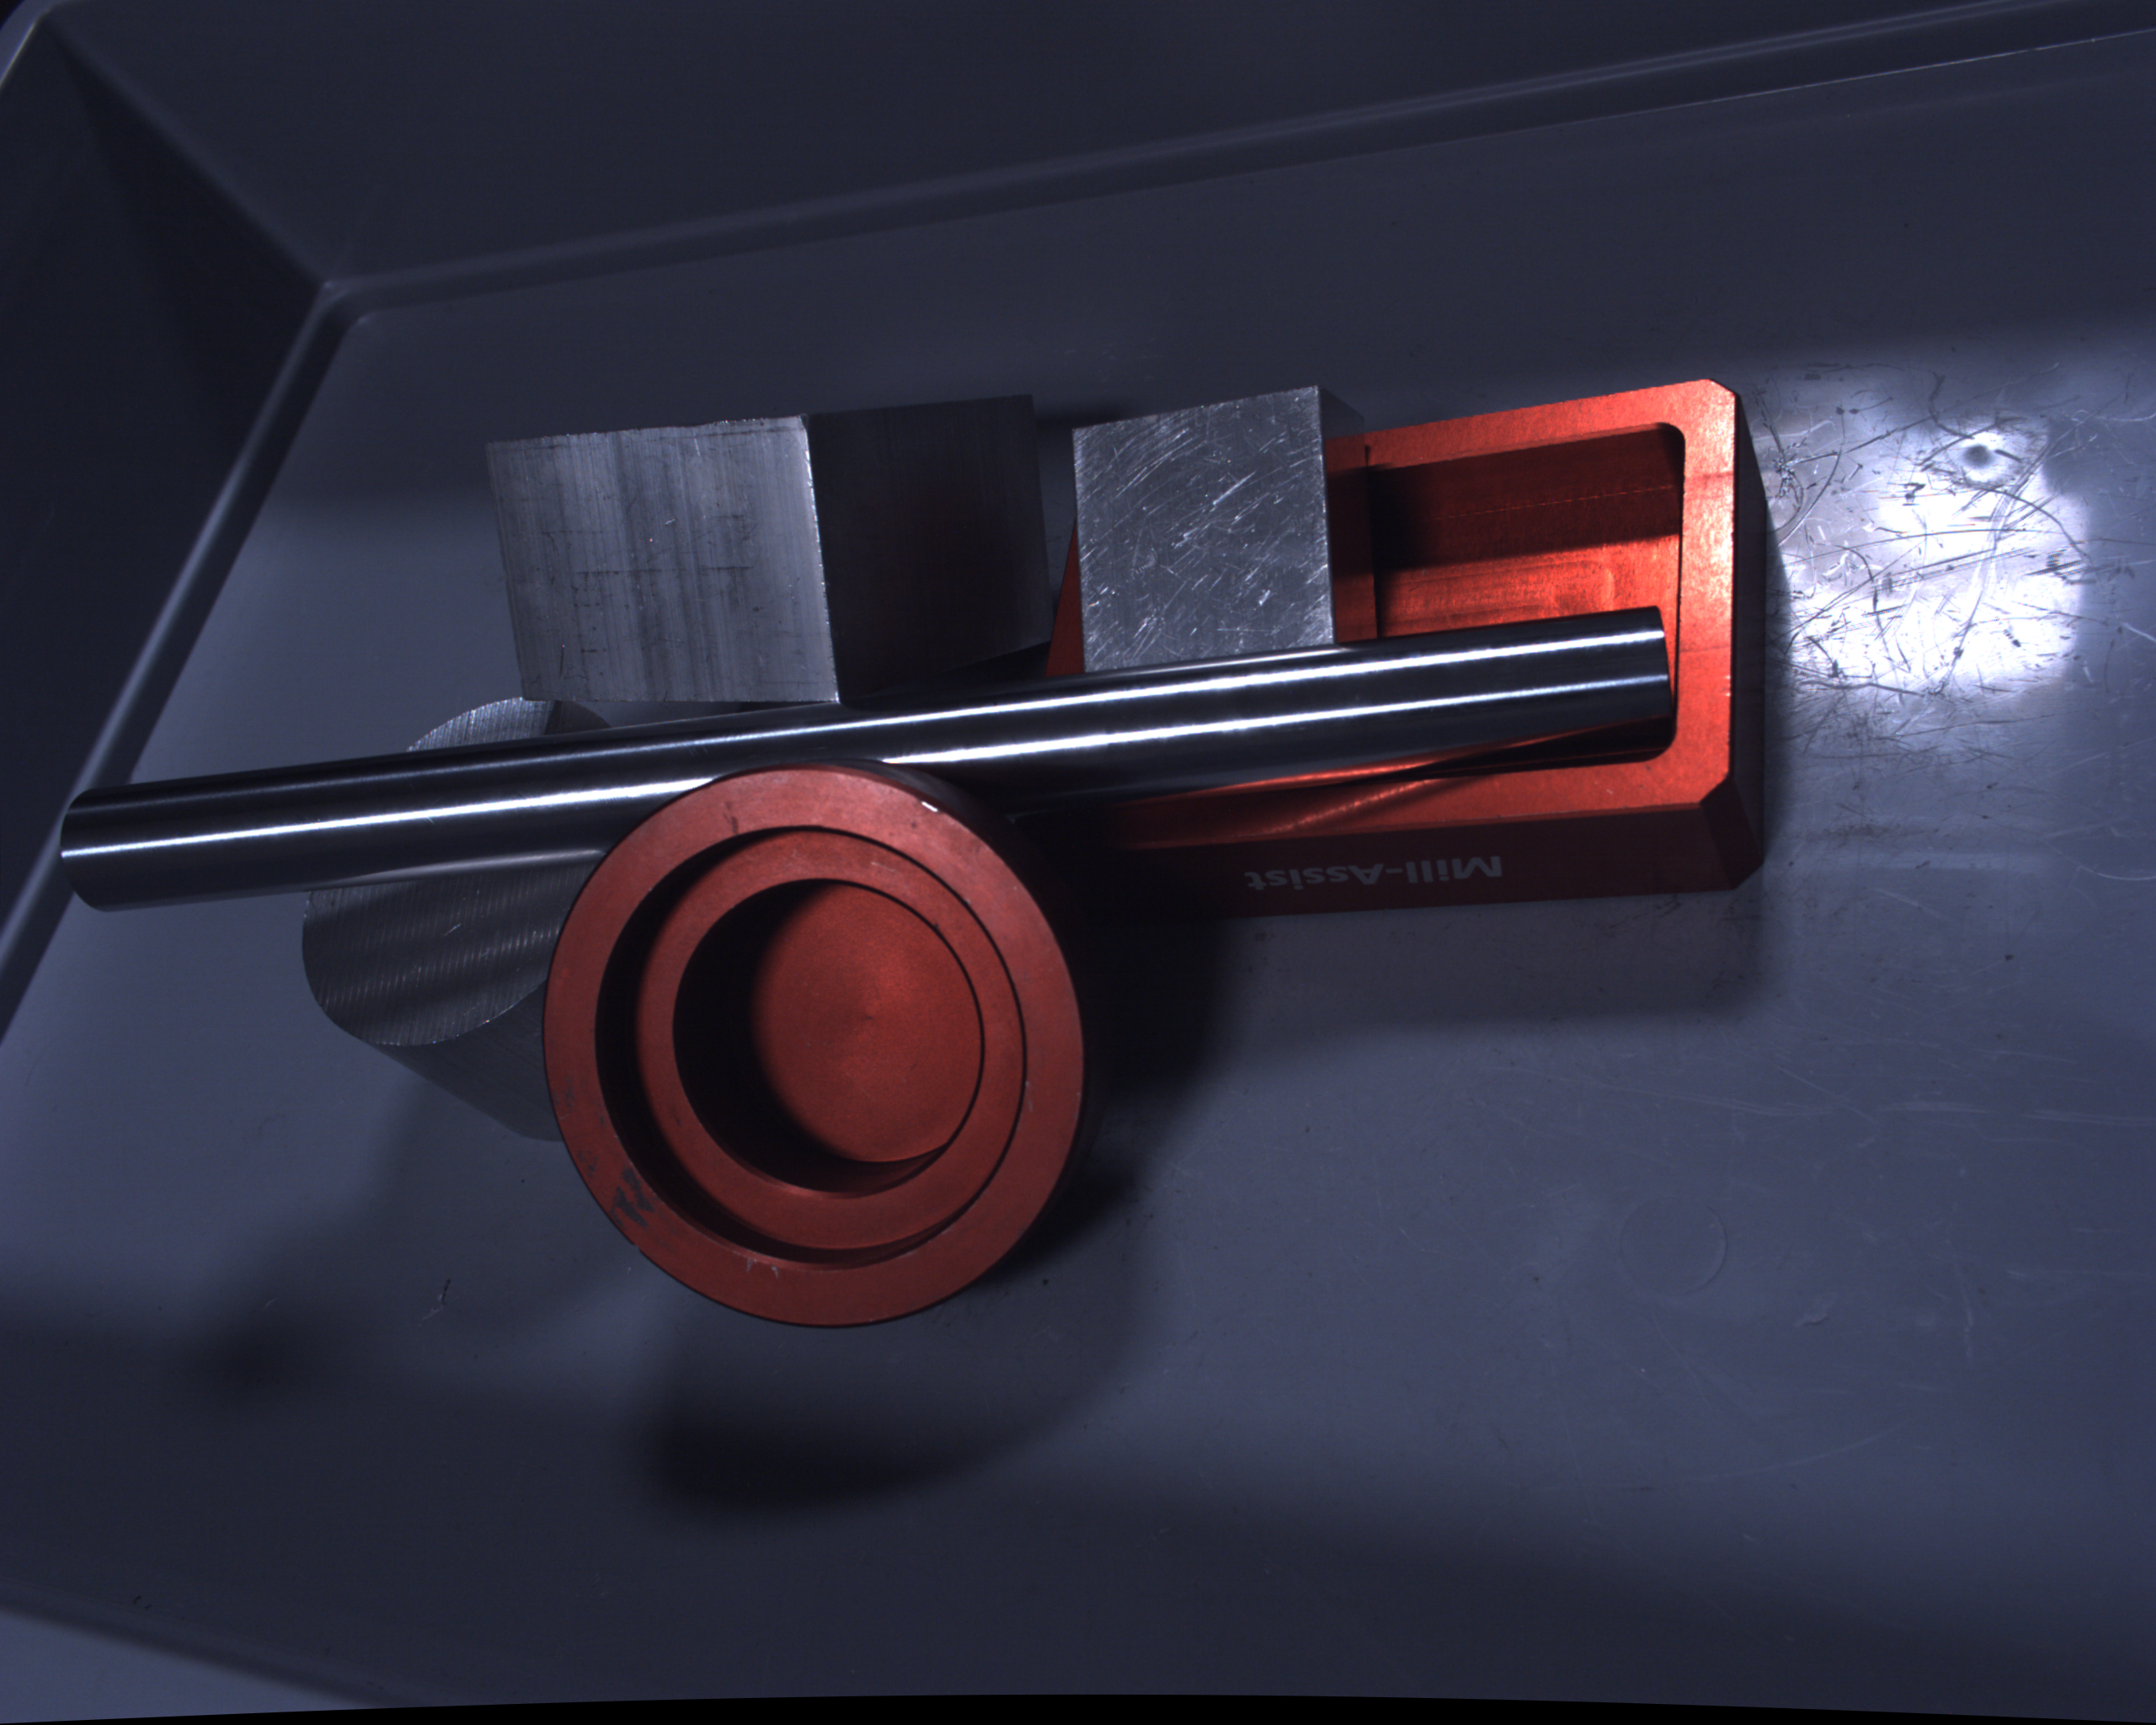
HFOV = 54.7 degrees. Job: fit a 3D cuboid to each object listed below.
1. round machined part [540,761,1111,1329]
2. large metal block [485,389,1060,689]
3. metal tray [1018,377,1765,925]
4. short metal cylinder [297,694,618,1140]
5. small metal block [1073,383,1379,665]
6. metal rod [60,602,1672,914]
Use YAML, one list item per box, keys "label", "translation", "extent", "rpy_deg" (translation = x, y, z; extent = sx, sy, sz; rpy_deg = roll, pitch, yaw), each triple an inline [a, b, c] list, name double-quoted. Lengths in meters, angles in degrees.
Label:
- label: "round machined part"
  translation: [-0.042, 0.030, 0.374]
  extent: [0.098, 0.042, 0.097]
  rpy_deg: [1, 95, 13]
- label: "large metal block"
  translation: [-0.060, -0.067, 0.430]
  extent: [0.080, 0.080, 0.050]
  rpy_deg: [3, 105, 30]
- label: "metal tray"
  translation: [0.059, -0.037, 0.391]
  extent: [0.130, 0.030, 0.090]
  rpy_deg: [-4, 60, 25]
- label: "short metal cylinder"
  translation: [-0.114, 0.012, 0.437]
  extent: [0.080, 0.050, 0.080]
  rpy_deg: [-13, 56, 20]
- label: "small metal block"
  translation: [0.028, -0.060, 0.397]
  extent: [0.050, 0.025, 0.050]
  rpy_deg: [-5, 86, 26]
- label: "metal rod"
  translation: [-0.047, -0.017, 0.384]
  extent: [0.301, 0.025, 0.025]
  rpy_deg: [-6, 59, 12]
